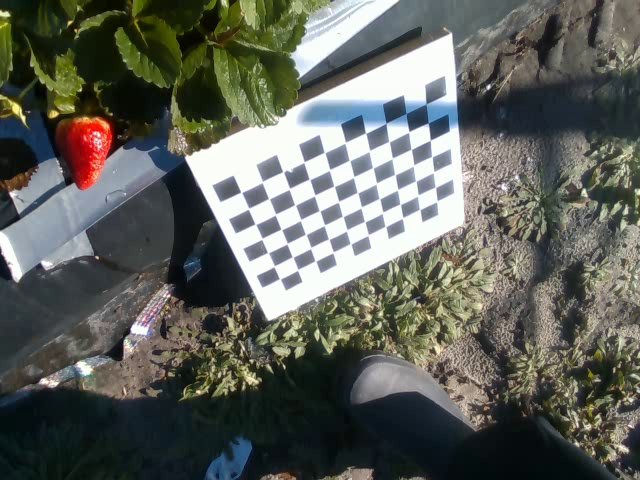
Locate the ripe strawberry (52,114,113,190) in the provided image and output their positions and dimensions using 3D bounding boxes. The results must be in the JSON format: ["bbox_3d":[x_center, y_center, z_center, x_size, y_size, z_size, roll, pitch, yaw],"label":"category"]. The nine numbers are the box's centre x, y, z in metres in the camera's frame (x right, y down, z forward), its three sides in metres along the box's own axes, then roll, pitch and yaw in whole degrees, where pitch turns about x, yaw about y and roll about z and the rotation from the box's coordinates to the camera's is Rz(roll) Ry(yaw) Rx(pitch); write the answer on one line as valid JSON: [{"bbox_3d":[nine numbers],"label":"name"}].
[{"bbox_3d":[-0.214,-0.078,0.566,0.061,0.065,0.057,-3,-5,-31],"label":"ripe strawberry"}]
